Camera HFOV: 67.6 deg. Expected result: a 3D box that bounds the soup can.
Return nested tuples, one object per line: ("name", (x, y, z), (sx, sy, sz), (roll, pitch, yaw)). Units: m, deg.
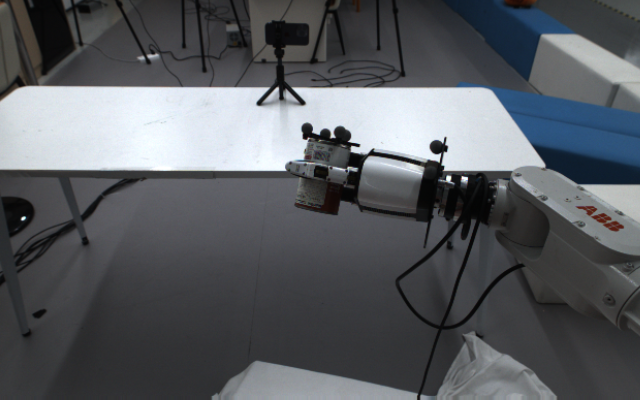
("soup can", (0.005, -0.033, 0.716), (0.067, 0.101, 0.067), (12, 2, 0))
